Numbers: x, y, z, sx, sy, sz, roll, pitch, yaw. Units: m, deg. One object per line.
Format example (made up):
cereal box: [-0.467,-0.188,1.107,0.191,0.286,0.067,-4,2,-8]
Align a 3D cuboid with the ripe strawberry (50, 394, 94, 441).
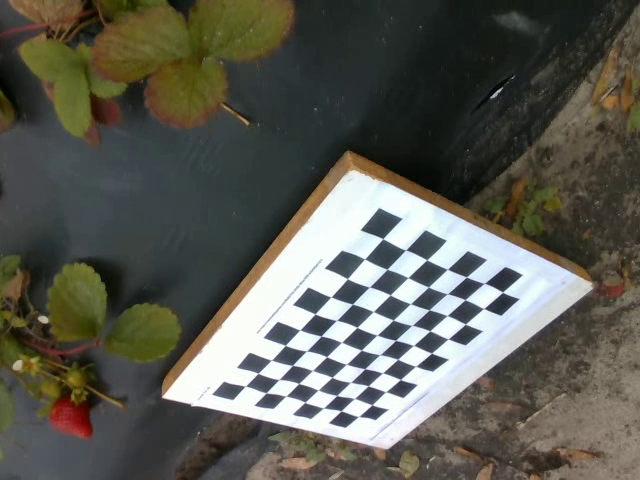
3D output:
ripe strawberry: [-0.067,0.046,0.122,0.017,0.018,0.014,42,14,11]
